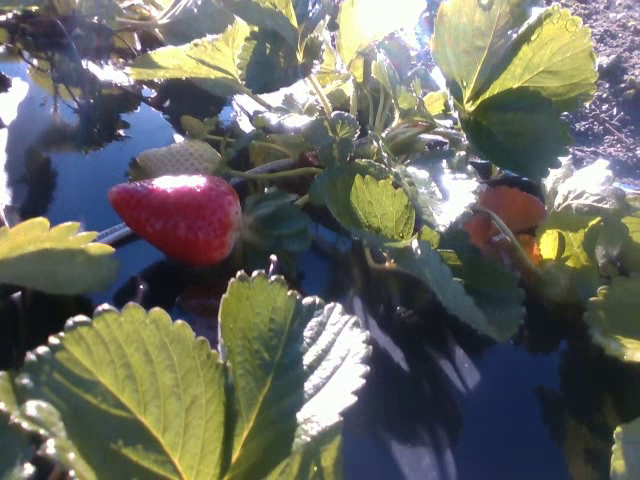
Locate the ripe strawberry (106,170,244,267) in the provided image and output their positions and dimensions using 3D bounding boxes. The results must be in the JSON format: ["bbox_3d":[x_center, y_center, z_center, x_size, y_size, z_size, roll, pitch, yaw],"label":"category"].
[{"bbox_3d":[-0.064,-0.017,0.292,0.080,0.063,0.040,17,-30,-25],"label":"ripe strawberry"}]
